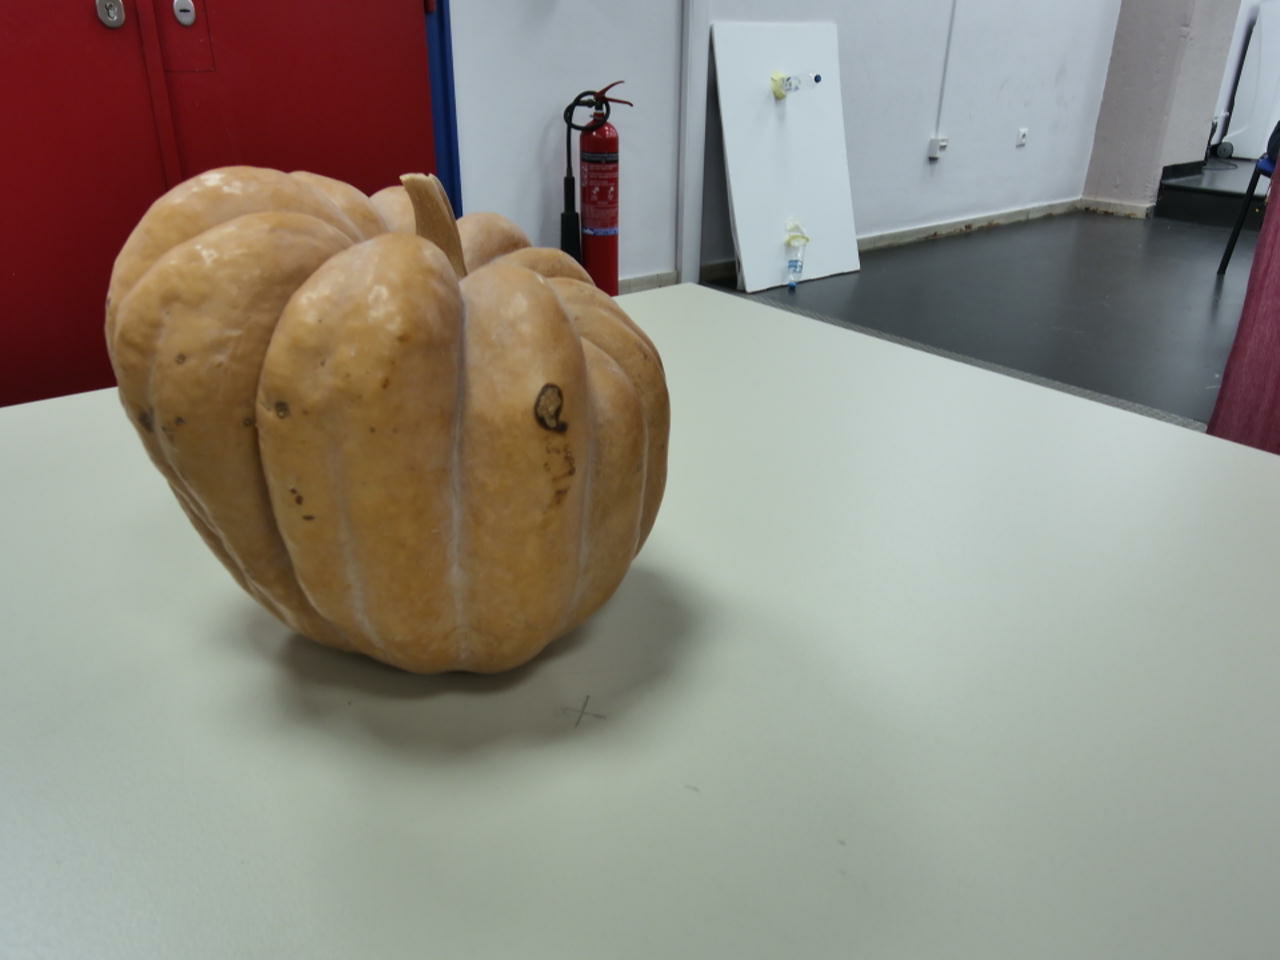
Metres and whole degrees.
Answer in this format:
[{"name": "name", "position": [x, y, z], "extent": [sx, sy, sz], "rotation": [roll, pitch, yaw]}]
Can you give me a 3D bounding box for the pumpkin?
[{"name": "pumpkin", "position": [-0.085, -0.023, 0.366], "extent": [0.199, 0.177, 0.198], "rotation": [1, 24, 0]}]
